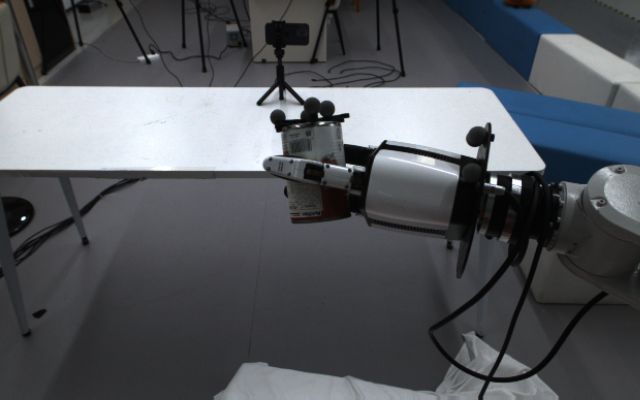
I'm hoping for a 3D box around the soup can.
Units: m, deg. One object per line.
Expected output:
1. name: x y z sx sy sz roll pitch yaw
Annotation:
1. soup can: -0.002 -0.029 0.524 0.067 0.101 0.067 -7 3 0
